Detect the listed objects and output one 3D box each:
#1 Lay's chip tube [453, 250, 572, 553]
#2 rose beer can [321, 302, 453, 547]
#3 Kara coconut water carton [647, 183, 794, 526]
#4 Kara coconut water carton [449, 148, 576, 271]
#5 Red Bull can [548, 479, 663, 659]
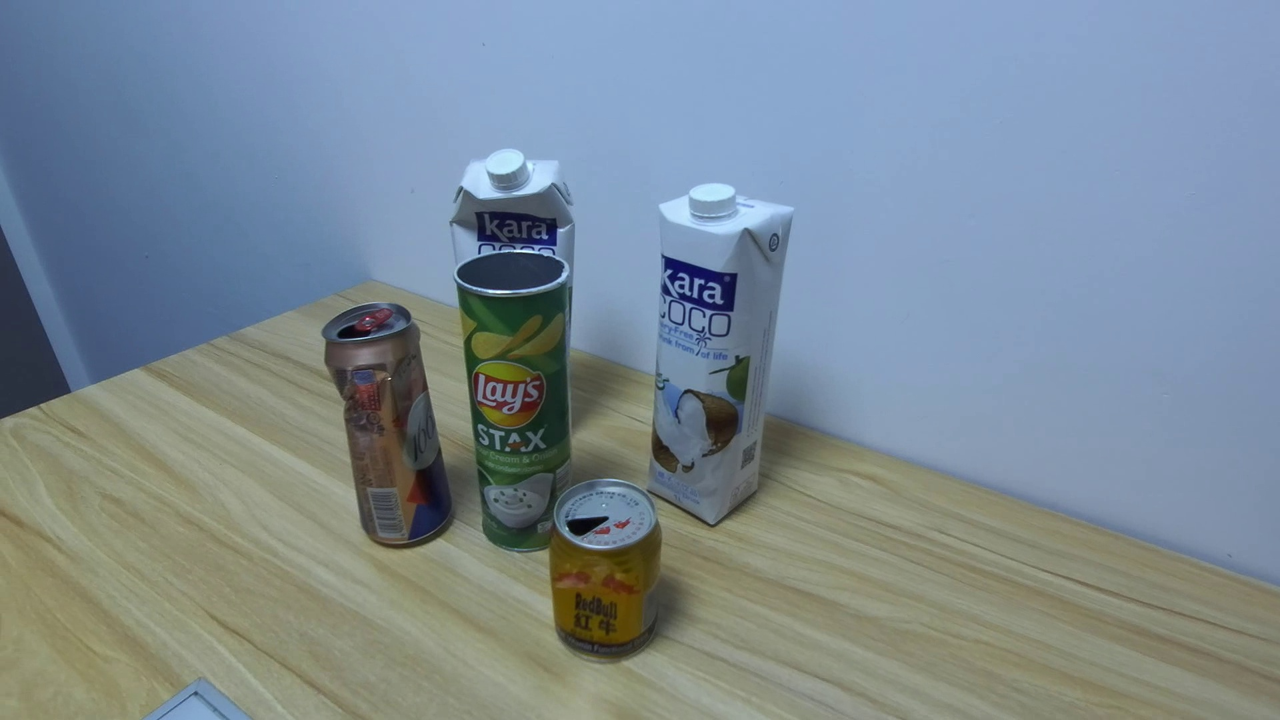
[{"bbox_3d":[-0.080,0.031,0.480,0.071,0.202,0.071,1,30,-1],"label":"Lay's chip tube"},{"bbox_3d":[-0.174,0.048,0.490,0.065,0.167,0.076,5,30,12],"label":"rose beer can"},{"bbox_3d":[0.053,-0.004,0.504,0.076,0.245,0.075,23,35,35],"label":"Kara coconut water carton"},{"bbox_3d":[-0.099,-0.054,0.585,0.099,0.244,0.071,-2,30,0],"label":"Kara coconut water carton"},{"bbox_3d":[-0.021,0.127,0.427,0.069,0.092,0.069,1,29,0],"label":"Red Bull can"}]
